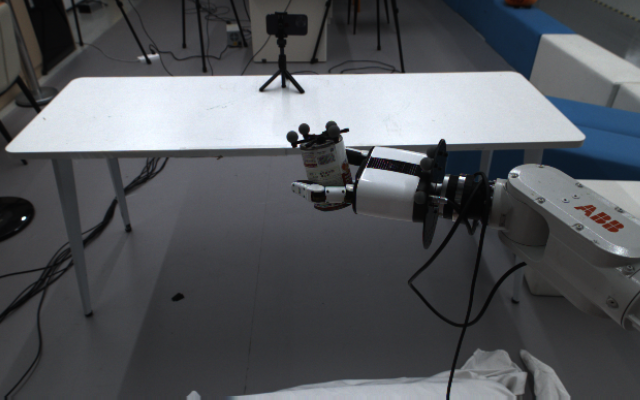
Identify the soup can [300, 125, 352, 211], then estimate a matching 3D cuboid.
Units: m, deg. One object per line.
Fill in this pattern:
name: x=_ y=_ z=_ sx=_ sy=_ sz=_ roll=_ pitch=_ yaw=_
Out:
soup can: x=0.014 y=-0.042 z=0.732 sx=0.067 sy=0.101 sz=0.067 roll=-13 pitch=20 yaw=5
